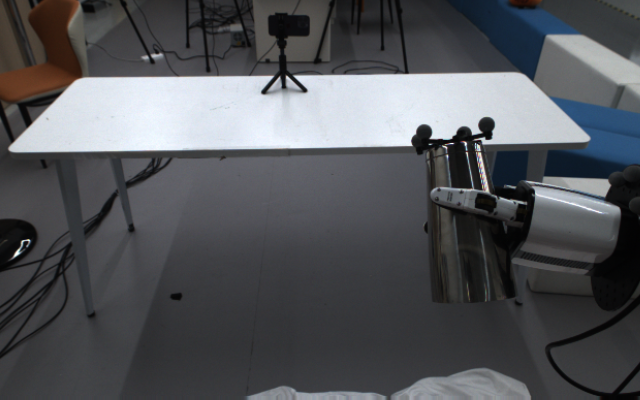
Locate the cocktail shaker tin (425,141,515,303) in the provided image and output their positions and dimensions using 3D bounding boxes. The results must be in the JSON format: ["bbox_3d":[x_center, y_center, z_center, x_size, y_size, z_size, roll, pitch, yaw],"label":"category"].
[{"bbox_3d":[0.164,0.025,0.548,0.093,0.170,0.093,-6,-7,-1],"label":"cocktail shaker tin"}]
